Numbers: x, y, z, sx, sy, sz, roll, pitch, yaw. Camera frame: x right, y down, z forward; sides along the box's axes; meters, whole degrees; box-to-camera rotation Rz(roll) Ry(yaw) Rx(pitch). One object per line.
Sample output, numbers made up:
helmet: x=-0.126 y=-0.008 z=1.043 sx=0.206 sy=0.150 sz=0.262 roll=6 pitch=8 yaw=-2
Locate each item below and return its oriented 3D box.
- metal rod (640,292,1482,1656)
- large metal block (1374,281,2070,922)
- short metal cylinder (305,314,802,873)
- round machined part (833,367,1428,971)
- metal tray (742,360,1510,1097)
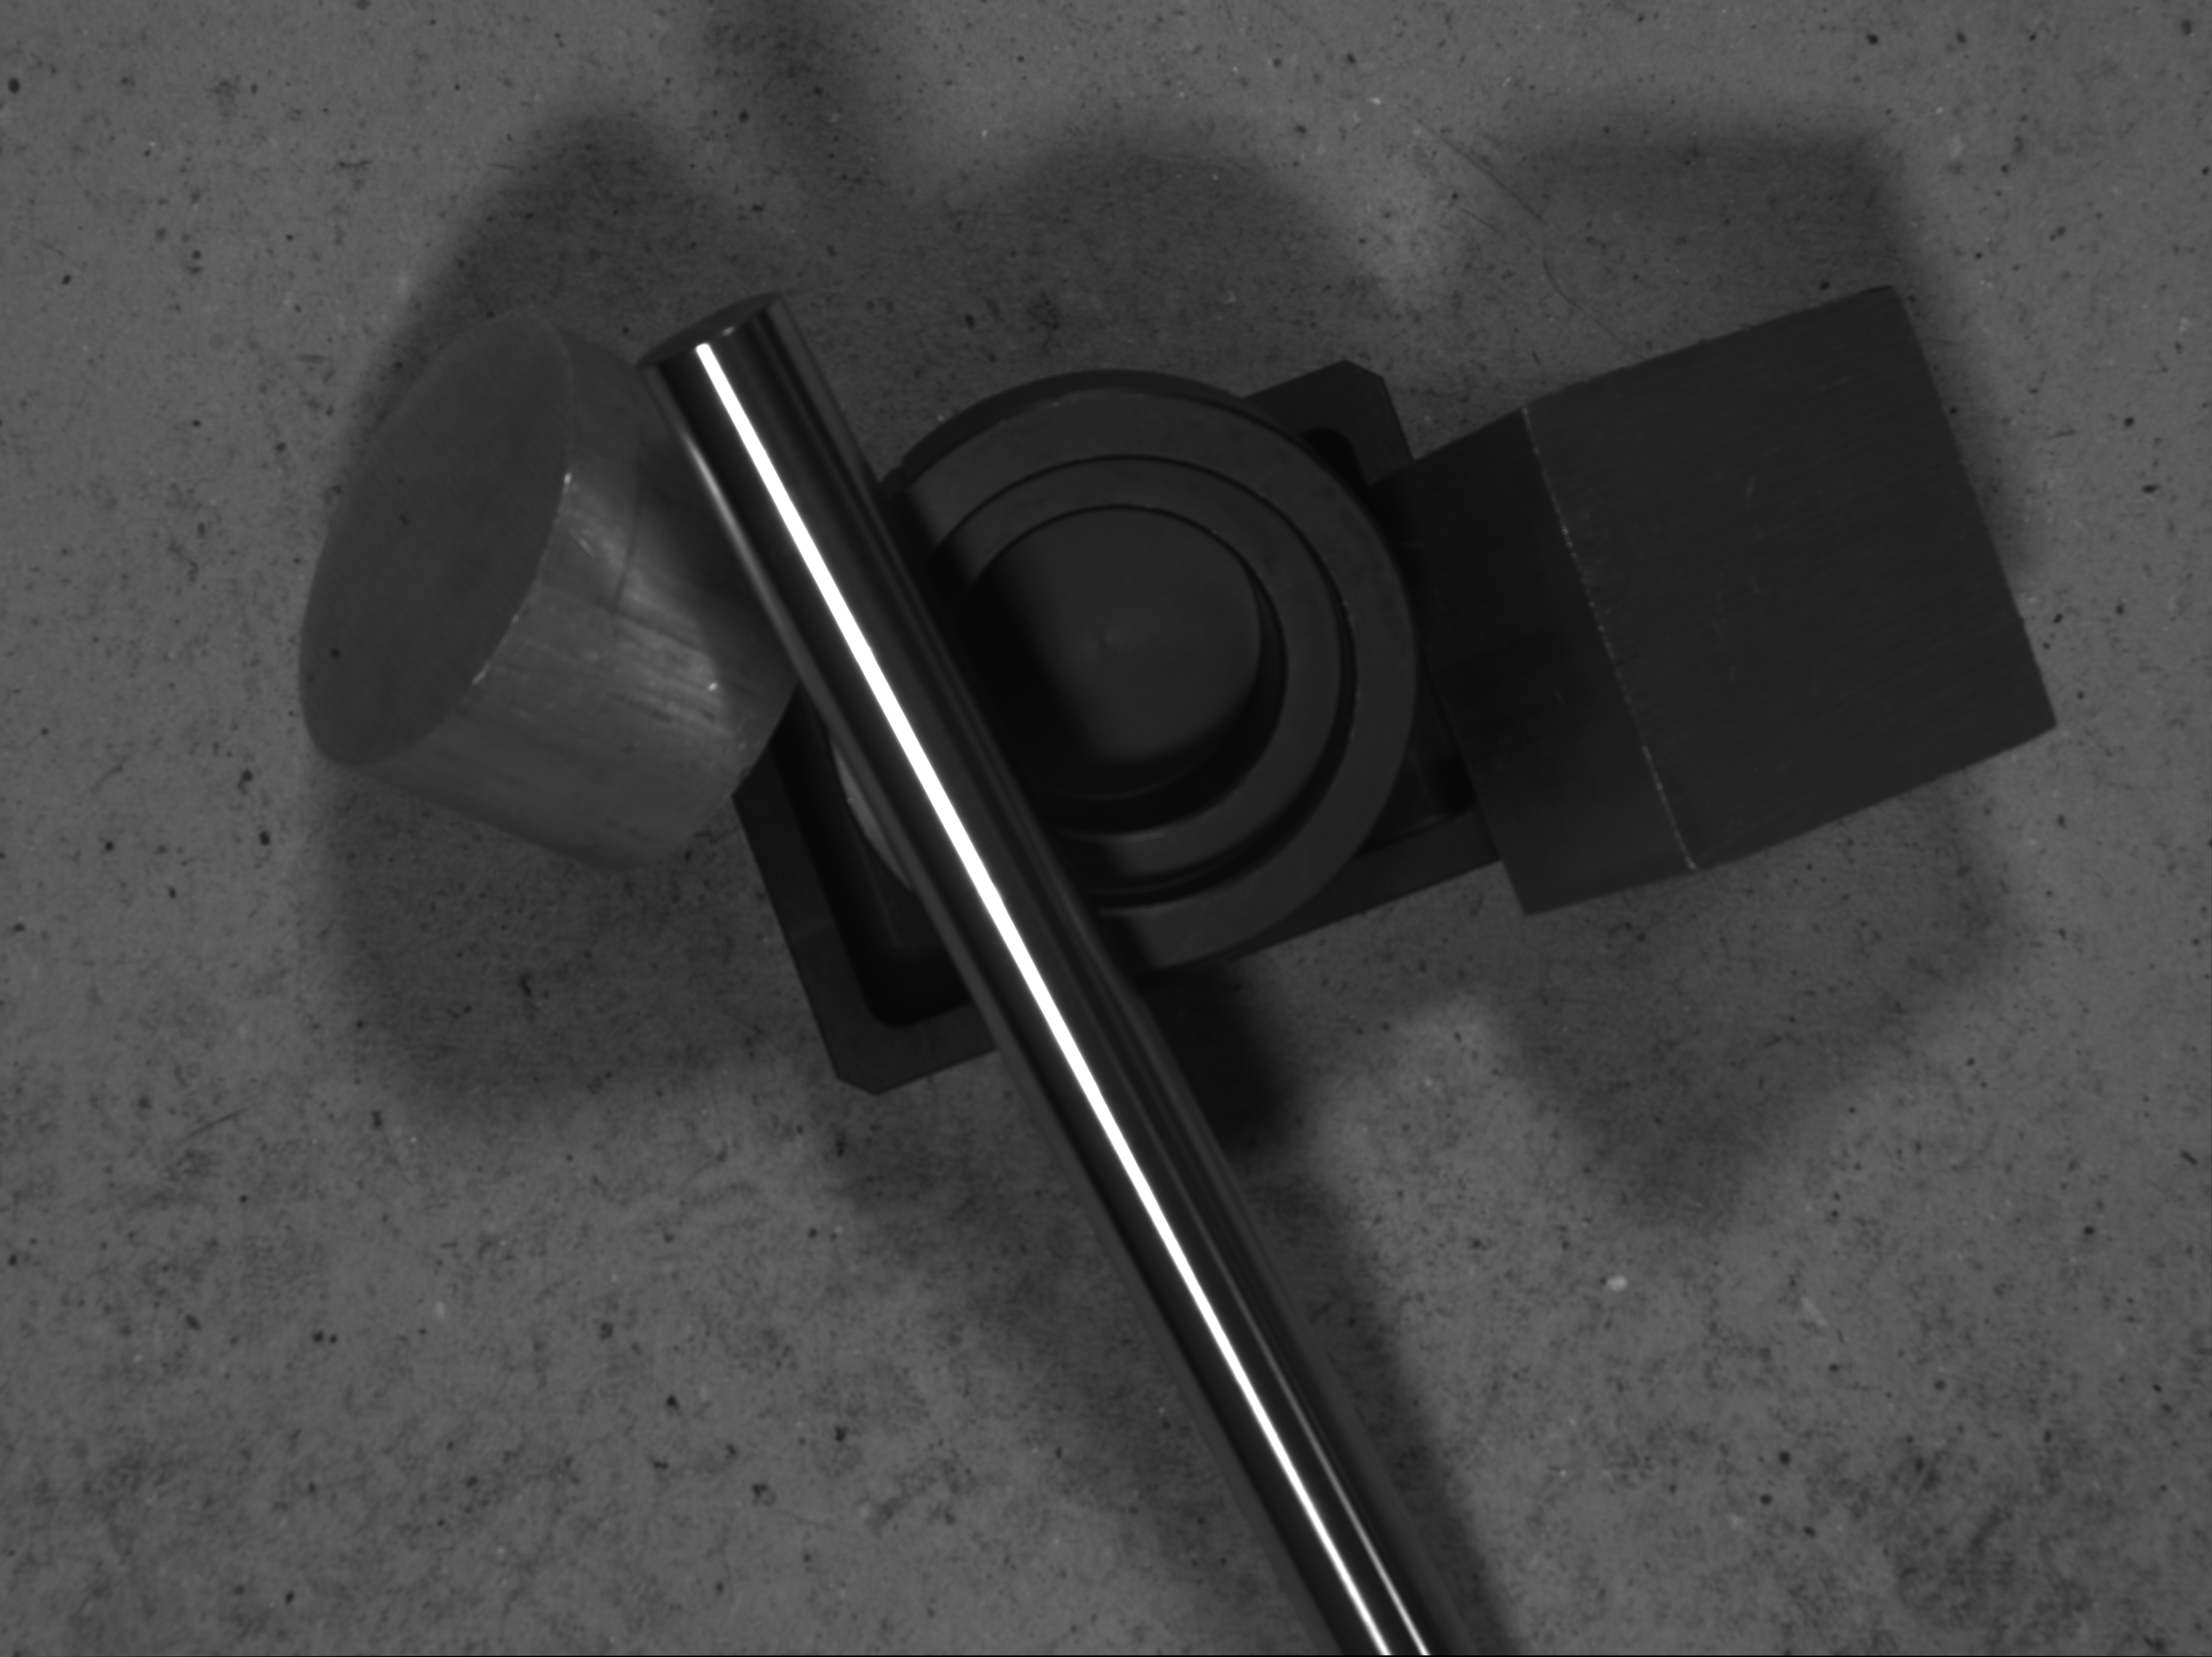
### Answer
metal rod: x=0.005 y=0.052 z=0.601 sx=0.025 sy=0.025 sz=0.300 roll=-27 pitch=107 yaw=0
large metal block: x=0.103 y=-0.038 z=0.617 sx=0.080 sy=0.050 sz=0.080 roll=-20 pitch=90 yaw=-26
short metal cylinder: x=-0.090 y=-0.039 z=0.611 sx=0.050 sy=0.080 sz=0.080 roll=24 pitch=90 yaw=-36
round machined part: x=0.002 y=-0.028 z=0.613 sx=0.098 sy=0.042 sz=0.098 roll=-1 pitch=105 yaw=-5
metal tray: x=0.002 y=-0.017 z=0.643 sx=0.130 sy=0.030 sz=0.090 roll=-21 pitch=90 yaw=-1
